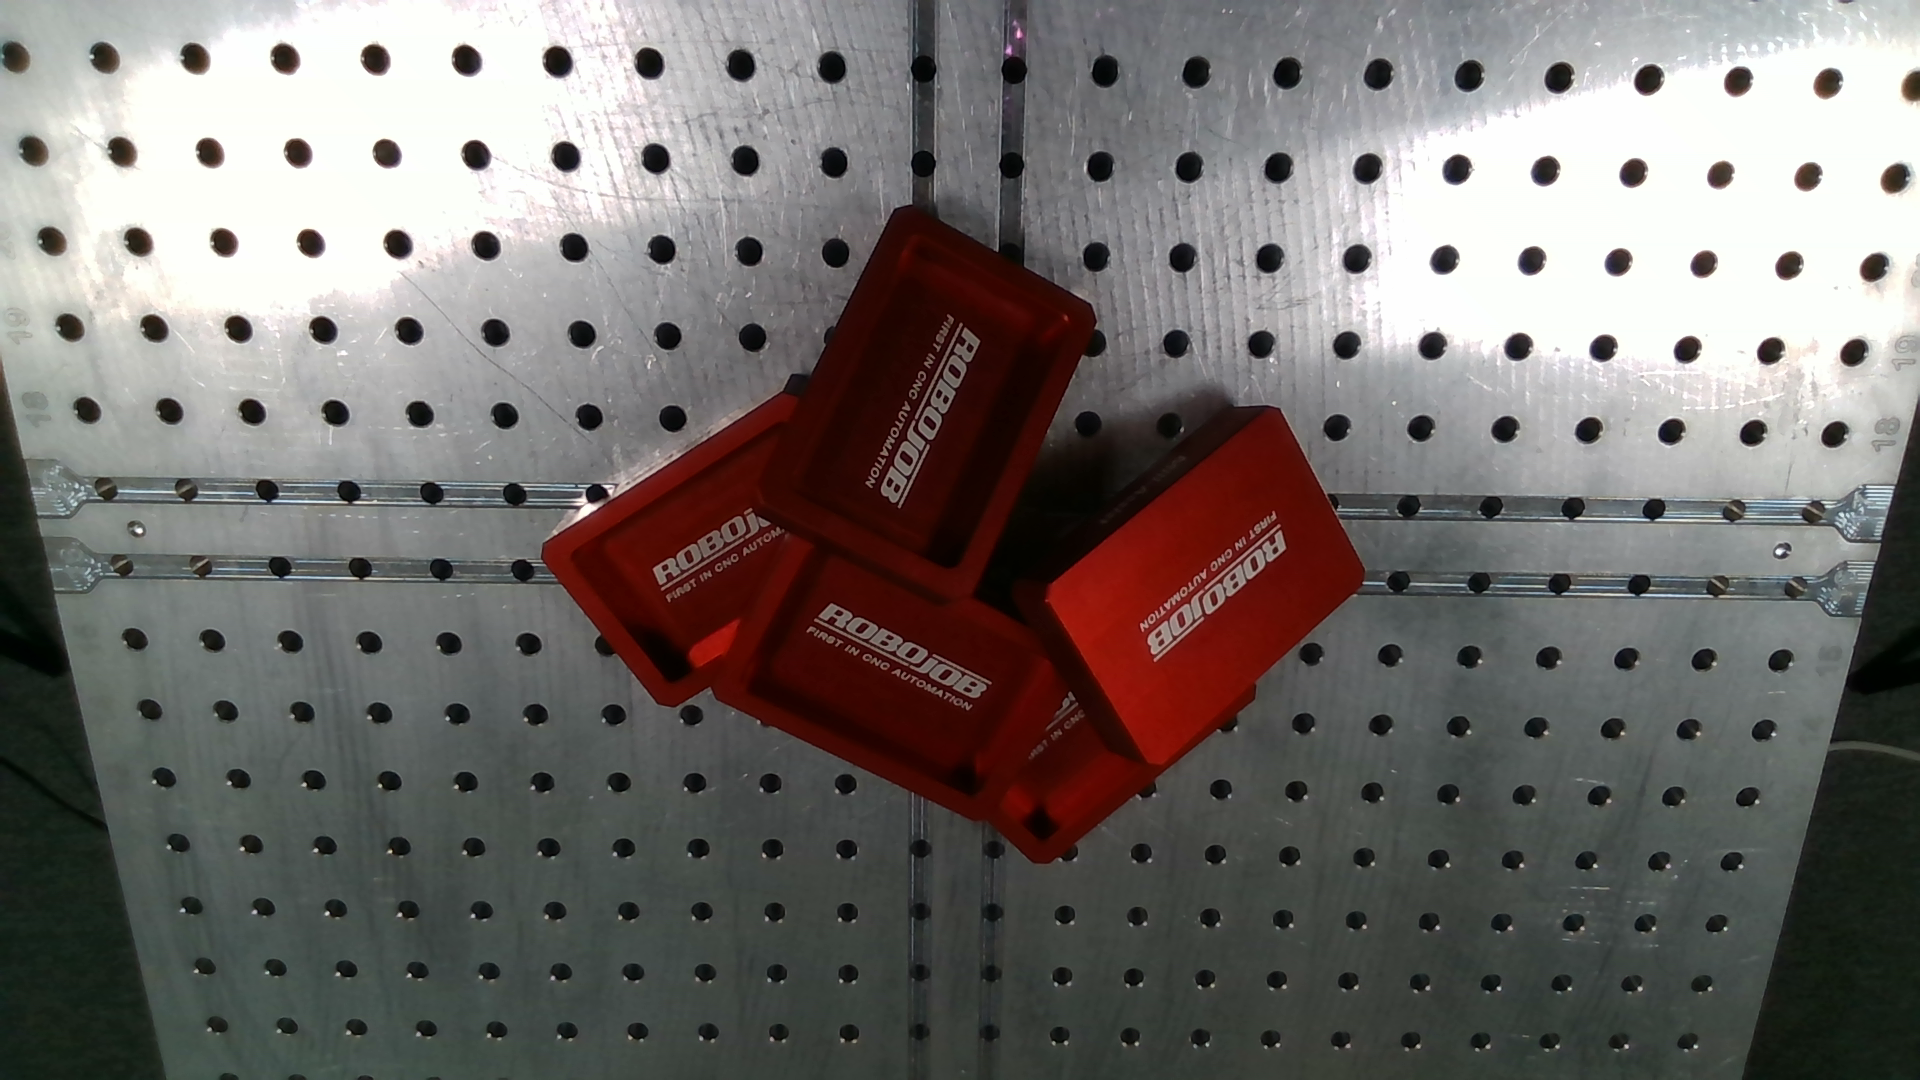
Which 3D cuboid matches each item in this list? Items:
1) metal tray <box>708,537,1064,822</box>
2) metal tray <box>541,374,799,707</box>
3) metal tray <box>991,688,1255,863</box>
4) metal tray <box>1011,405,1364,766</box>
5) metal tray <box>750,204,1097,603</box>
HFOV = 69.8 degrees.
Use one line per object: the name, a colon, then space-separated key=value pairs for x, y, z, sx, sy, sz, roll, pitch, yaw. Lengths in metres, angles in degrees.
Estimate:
metal tray: x=-0.026 y=0.050 z=0.571 sx=0.130 sy=0.030 sz=0.090 roll=27 pitch=108 yaw=-9
metal tray: x=-0.098 y=0.002 z=0.585 sx=0.130 sy=0.030 sz=0.090 roll=-31 pitch=107 yaw=11
metal tray: x=0.052 y=0.072 z=0.611 sx=0.130 sy=0.030 sz=0.090 roll=-42 pitch=105 yaw=14
metal tray: x=0.095 y=0.017 z=0.558 sx=0.130 sy=0.030 sz=0.090 roll=-38 pitch=108 yaw=-18
metal tray: x=-0.014 y=-0.051 z=0.533 sx=0.090 sy=0.030 sz=0.130 roll=27 pitch=78 yaw=-9
